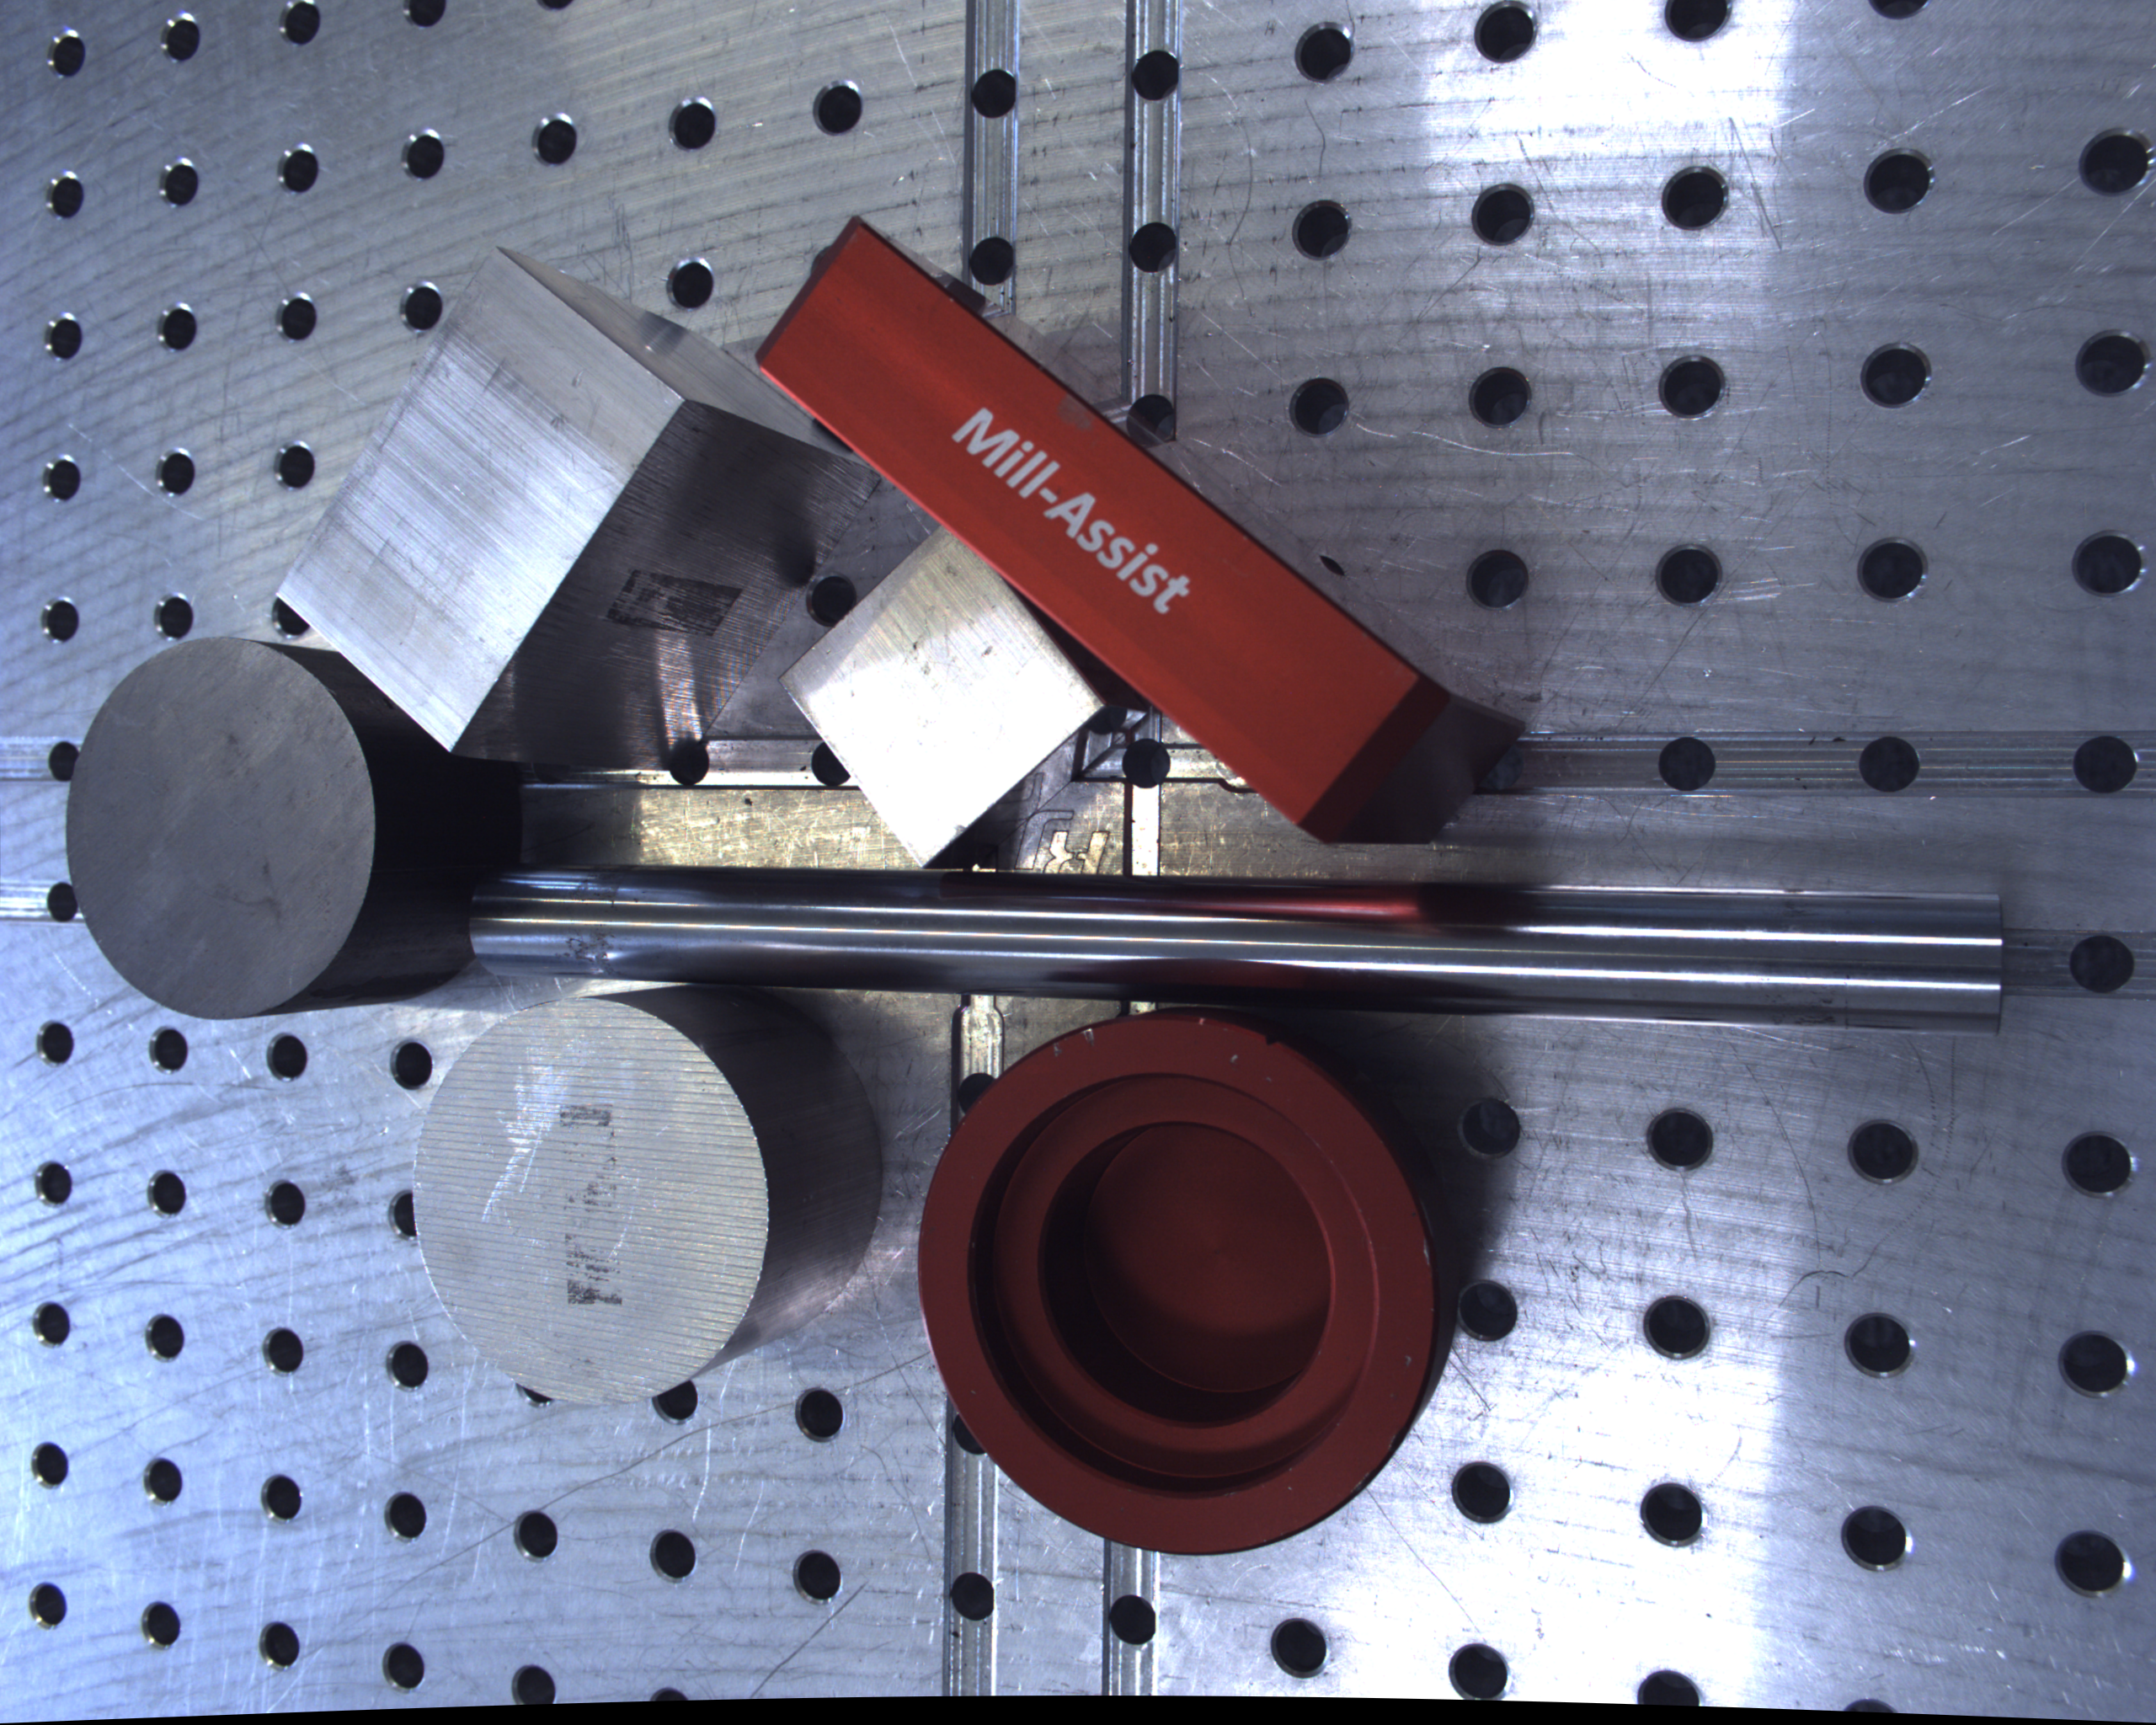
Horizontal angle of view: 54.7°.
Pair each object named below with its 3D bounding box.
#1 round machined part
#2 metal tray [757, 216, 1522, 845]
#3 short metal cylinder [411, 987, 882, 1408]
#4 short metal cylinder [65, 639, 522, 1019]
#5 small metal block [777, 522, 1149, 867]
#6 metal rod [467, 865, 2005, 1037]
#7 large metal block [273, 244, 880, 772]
[{"bbox_3d":[0.023,0.076,0.395,0.098,0.042,0.097,0,90,20],"label":"round machined part"},{"bbox_3d":[0.015,-0.056,0.372,0.130,0.090,0.030,42,103,15],"label":"metal tray"},{"bbox_3d":[-0.088,0.066,0.430,0.080,0.050,0.080,0,90,20],"label":"short metal cylinder"},{"bbox_3d":[-0.172,-0.007,0.459,0.080,0.050,0.080,0,90,20],"label":"short metal cylinder"},{"bbox_3d":[-0.023,-0.034,0.421,0.050,0.025,0.050,-41,77,15],"label":"small metal block"},{"bbox_3d":[0.016,0.015,0.407,0.301,0.025,0.025,1,90,19],"label":"metal rod"},{"bbox_3d":[-0.097,-0.066,0.418,0.050,0.080,0.080,40,103,15],"label":"large metal block"}]
